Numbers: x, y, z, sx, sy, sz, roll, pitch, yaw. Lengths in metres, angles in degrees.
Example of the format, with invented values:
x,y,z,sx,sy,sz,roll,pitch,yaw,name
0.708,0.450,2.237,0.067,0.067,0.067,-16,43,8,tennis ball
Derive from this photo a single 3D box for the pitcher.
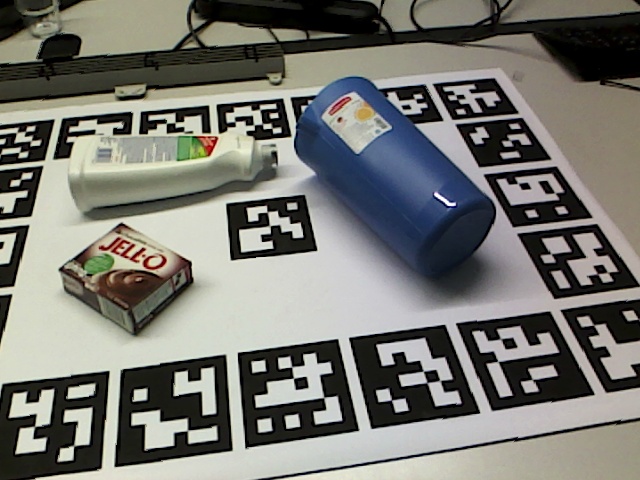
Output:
x,y,z,sx,sy,sz,roll,pitch,yaw,name
0.090,-0.063,0.739,0.187,0.133,0.244,4,38,-48,pitcher

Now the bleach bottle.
x,y,z,sx,sy,sz,roll,pitch,yaw,name
-0.184,-0.097,0.797,0.250,0.068,0.103,-8,50,-10,bleach bottle

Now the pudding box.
x,y,z,sx,sy,sz,roll,pitch,yaw,name
-0.214,0.037,0.674,0.114,0.038,0.090,29,46,24,pudding box
